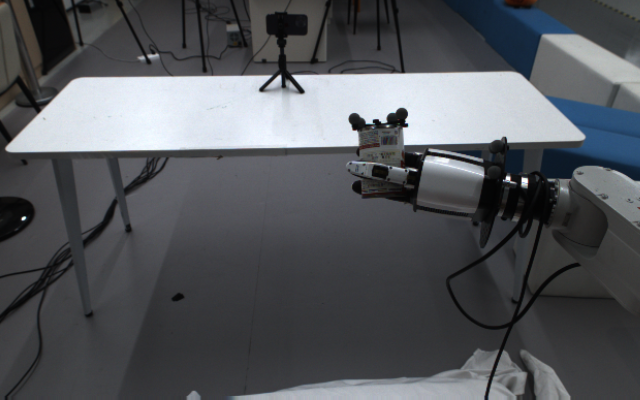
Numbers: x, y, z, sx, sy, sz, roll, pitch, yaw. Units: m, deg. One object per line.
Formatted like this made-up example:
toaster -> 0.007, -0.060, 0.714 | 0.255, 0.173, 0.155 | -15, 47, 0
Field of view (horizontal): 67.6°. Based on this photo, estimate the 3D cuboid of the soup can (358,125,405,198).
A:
soup can -> 0.093, -0.055, 0.712 | 0.067, 0.101, 0.067 | -3, -1, 0
